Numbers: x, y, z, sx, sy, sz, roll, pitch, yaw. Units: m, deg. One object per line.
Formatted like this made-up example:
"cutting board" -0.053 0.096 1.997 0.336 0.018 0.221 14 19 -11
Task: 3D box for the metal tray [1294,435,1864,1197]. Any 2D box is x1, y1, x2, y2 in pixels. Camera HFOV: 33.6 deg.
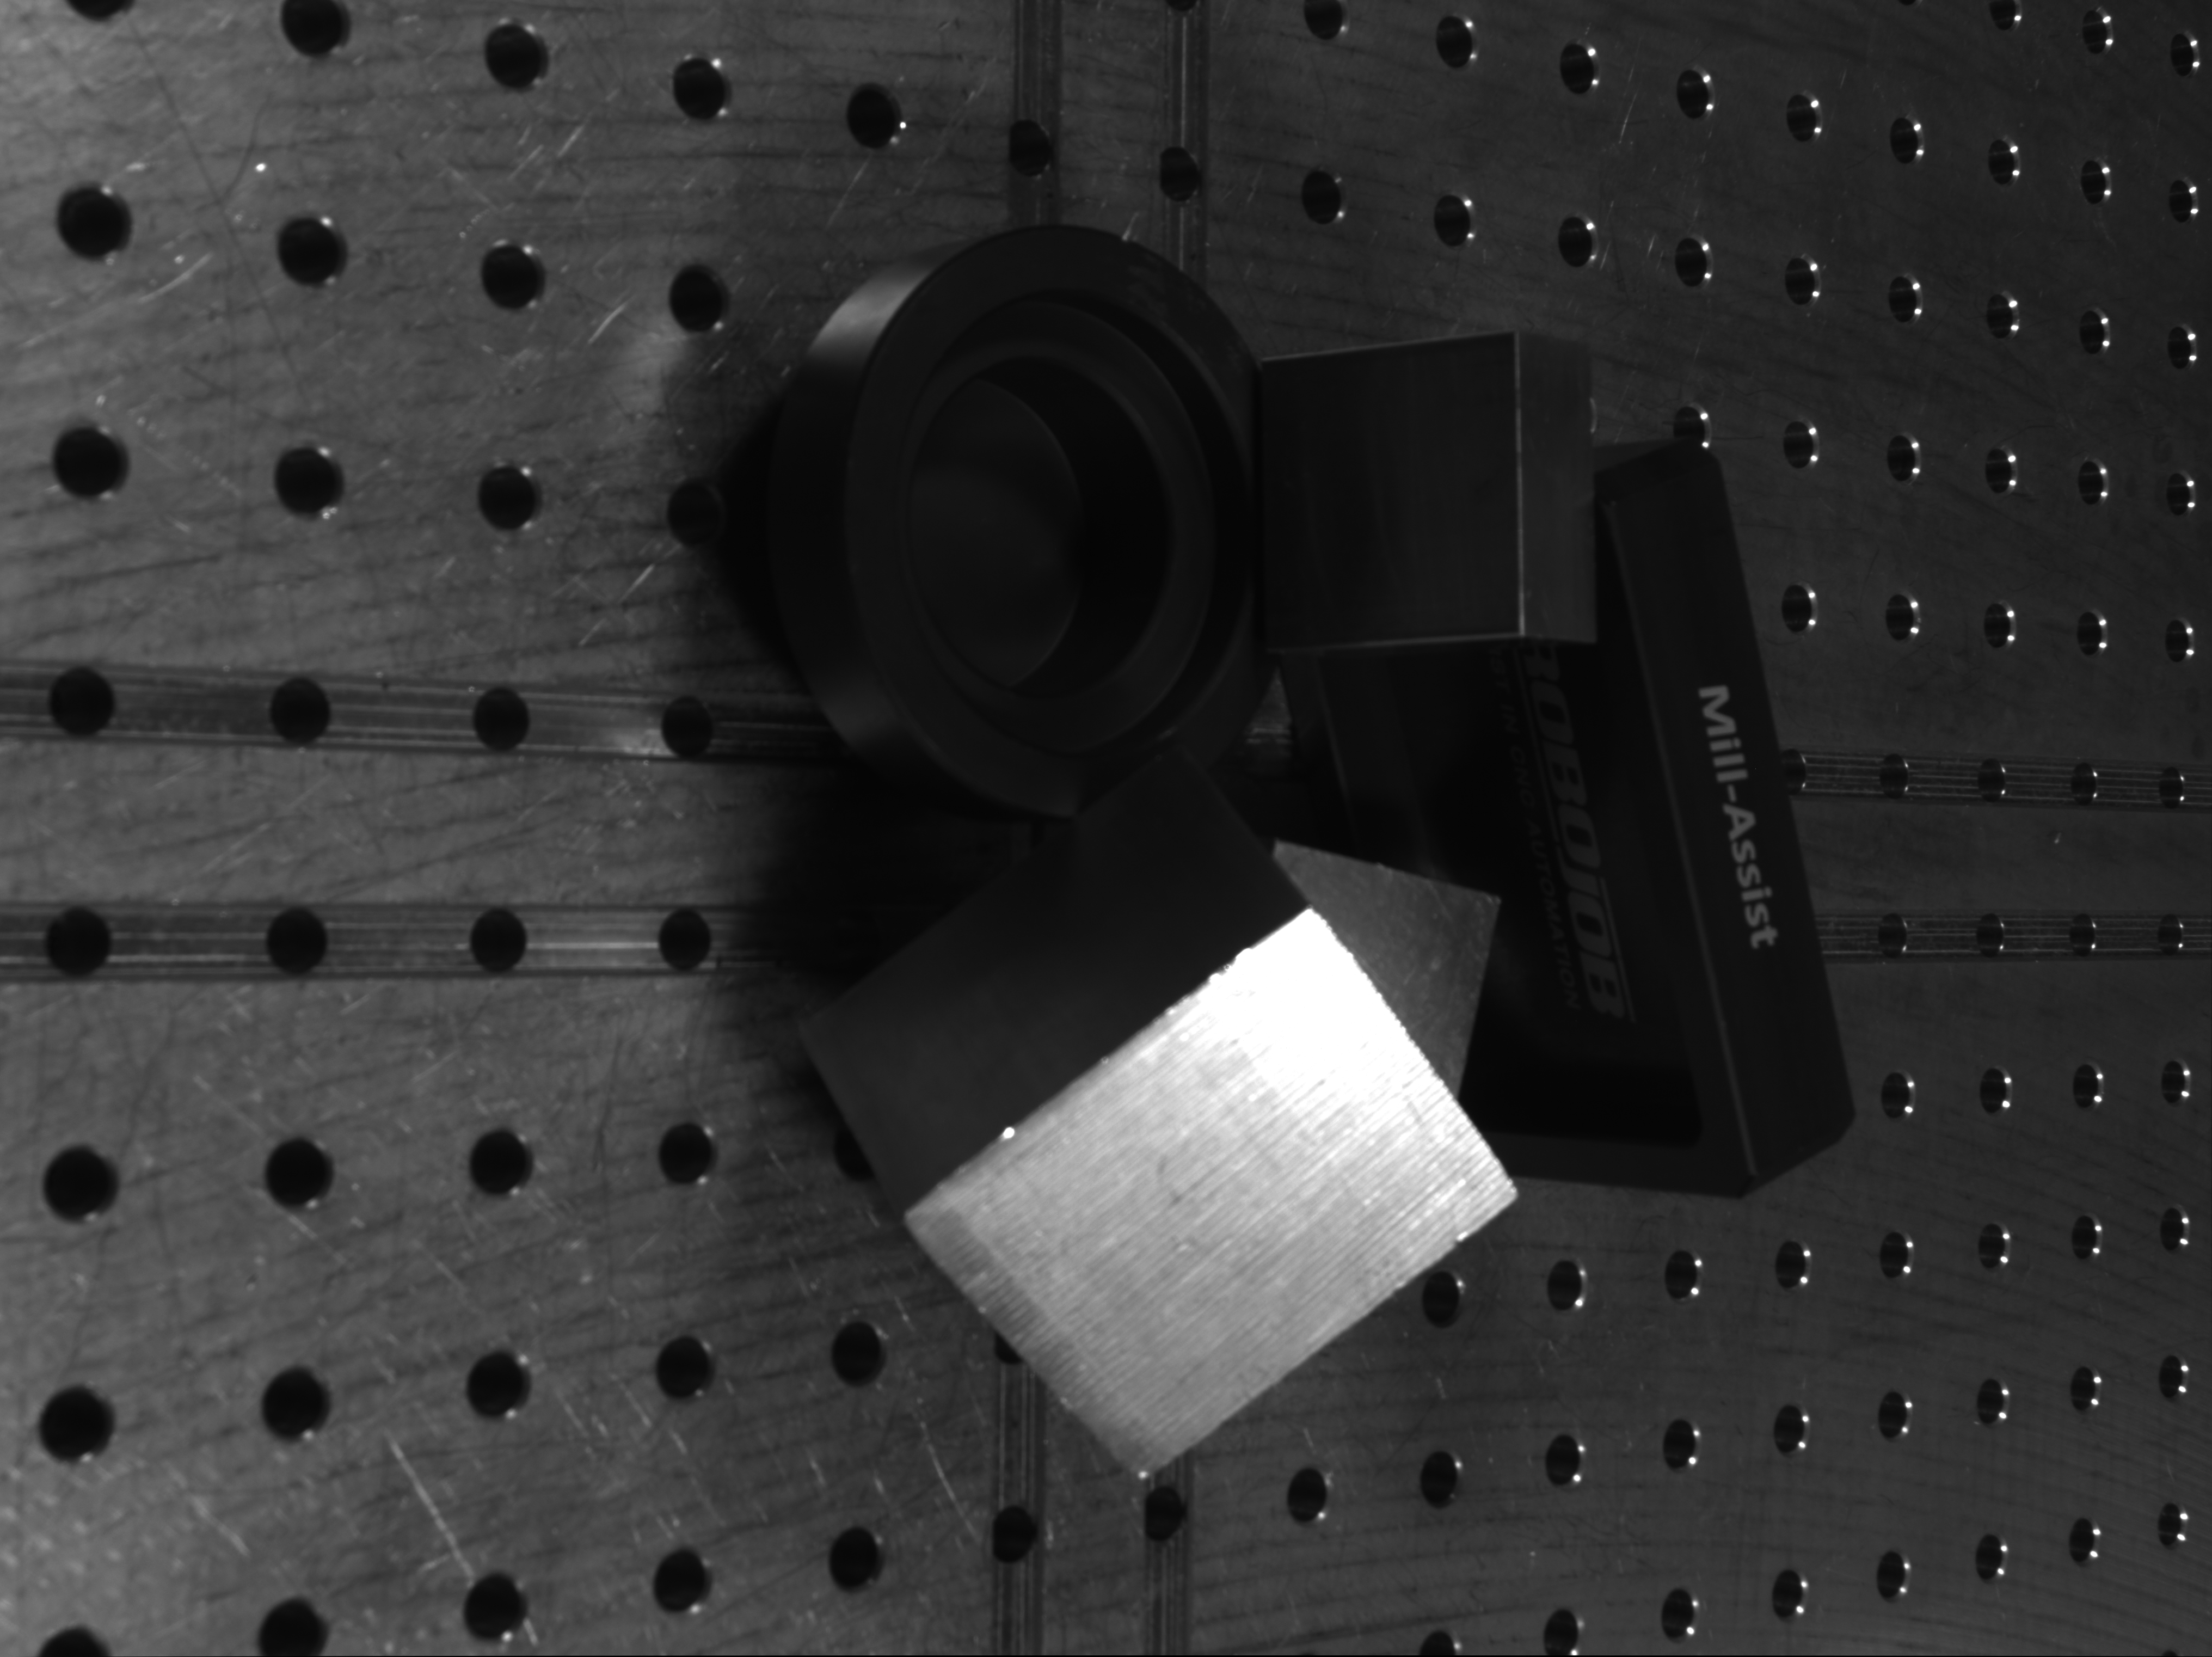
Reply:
"metal tray" 0.082 -0.002 0.667 0.030 0.090 0.130 -22 104 -38

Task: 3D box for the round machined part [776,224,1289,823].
"round machined part" -0.016 -0.050 0.616 0.098 0.042 0.098 0 90 -40

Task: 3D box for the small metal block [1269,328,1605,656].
"small metal block" 0.056 -0.055 0.617 0.025 0.050 0.050 1 88 -54

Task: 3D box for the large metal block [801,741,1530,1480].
"large metal block" 0.010 0.047 0.603 0.080 0.050 0.080 -37 129 1

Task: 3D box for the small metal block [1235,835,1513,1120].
"small metal block" 0.042 0.031 0.669 0.050 0.025 0.050 14 85 -28
